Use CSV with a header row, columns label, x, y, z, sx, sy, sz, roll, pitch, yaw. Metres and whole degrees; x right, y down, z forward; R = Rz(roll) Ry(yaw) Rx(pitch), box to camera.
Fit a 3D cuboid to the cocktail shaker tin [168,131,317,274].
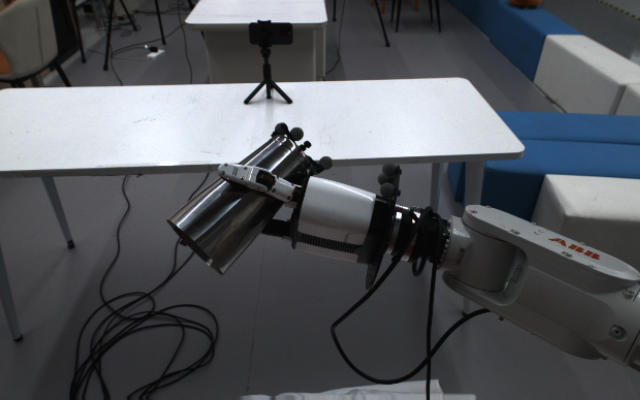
label,x,y,z,sx,sy,sz,roll,pitch,yaw
cocktail shaker tin,-0.090,-0.006,0.592,0.093,0.093,0.170,31,65,35
